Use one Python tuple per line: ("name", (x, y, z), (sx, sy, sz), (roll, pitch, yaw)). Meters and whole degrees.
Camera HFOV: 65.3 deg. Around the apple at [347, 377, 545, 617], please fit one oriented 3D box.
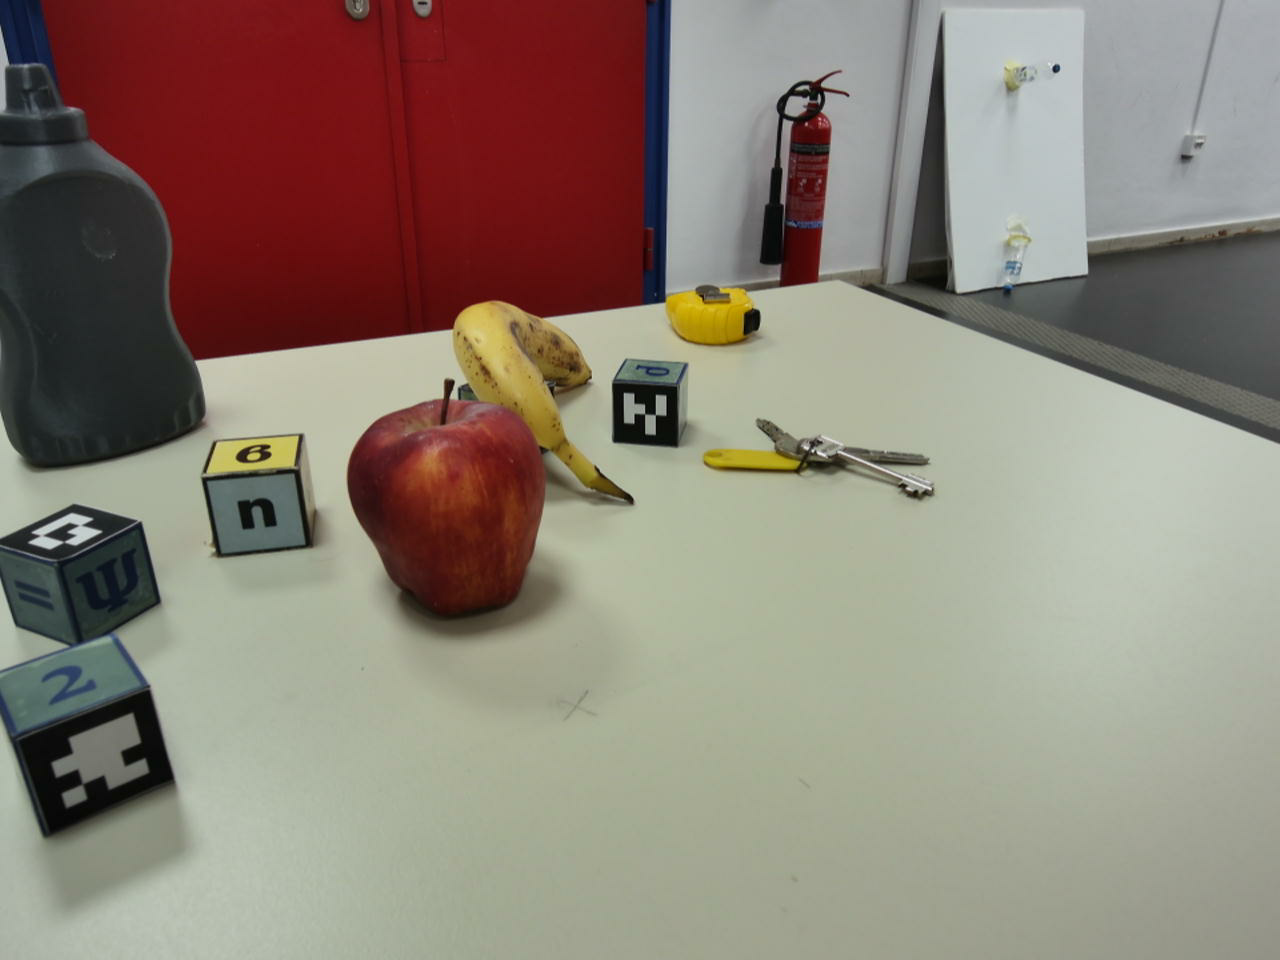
("apple", (-0.077, 0.004, 0.401), (0.083, 0.090, 0.083), (0, 24, 0))
